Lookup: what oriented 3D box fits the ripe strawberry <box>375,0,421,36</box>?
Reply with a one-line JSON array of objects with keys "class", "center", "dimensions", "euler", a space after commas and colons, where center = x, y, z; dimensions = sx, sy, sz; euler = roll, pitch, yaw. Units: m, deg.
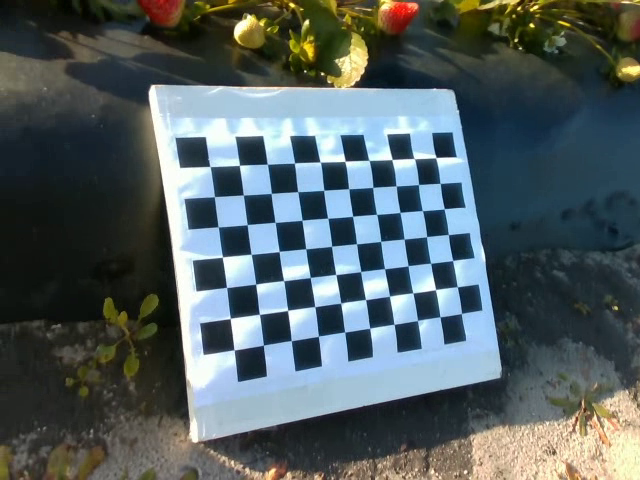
[{"class": "ripe strawberry", "center": [0.072, -0.194, 0.564], "dimensions": [0.045, 0.037, 0.042], "euler": [-22, 3, 36]}]
